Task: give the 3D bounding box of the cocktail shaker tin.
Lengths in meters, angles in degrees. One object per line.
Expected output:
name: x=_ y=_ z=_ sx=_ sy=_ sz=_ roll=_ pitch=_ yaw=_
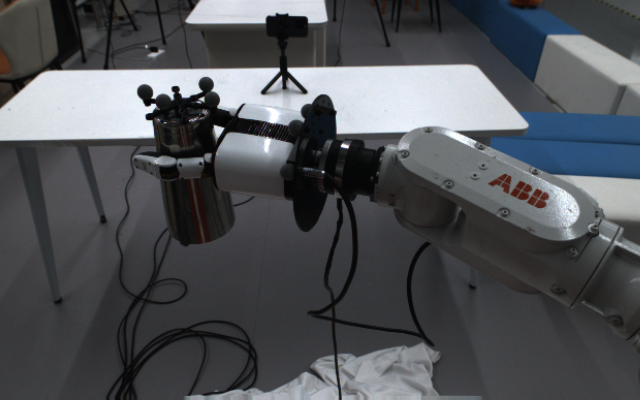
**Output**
cocktail shaker tin: x=-0.158 y=-0.040 z=0.614 sx=0.093 sy=0.170 sz=0.093 roll=1 pitch=39 yaw=-1
